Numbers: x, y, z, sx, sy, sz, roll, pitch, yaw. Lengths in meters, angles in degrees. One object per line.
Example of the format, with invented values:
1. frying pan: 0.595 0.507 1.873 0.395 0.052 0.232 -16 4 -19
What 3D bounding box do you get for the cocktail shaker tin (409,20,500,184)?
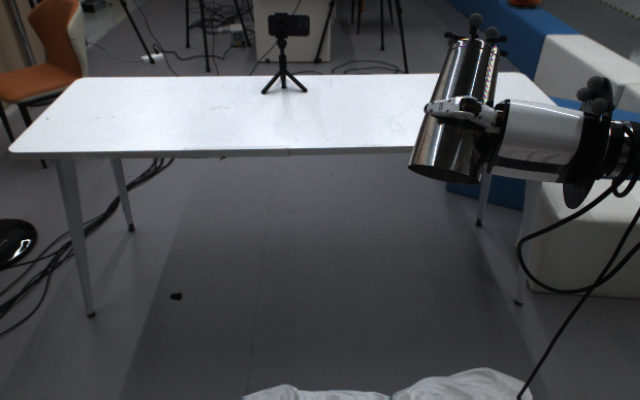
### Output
1. cocktail shaker tin: 0.180 -0.114 0.624 0.093 0.170 0.093 16 -4 1
